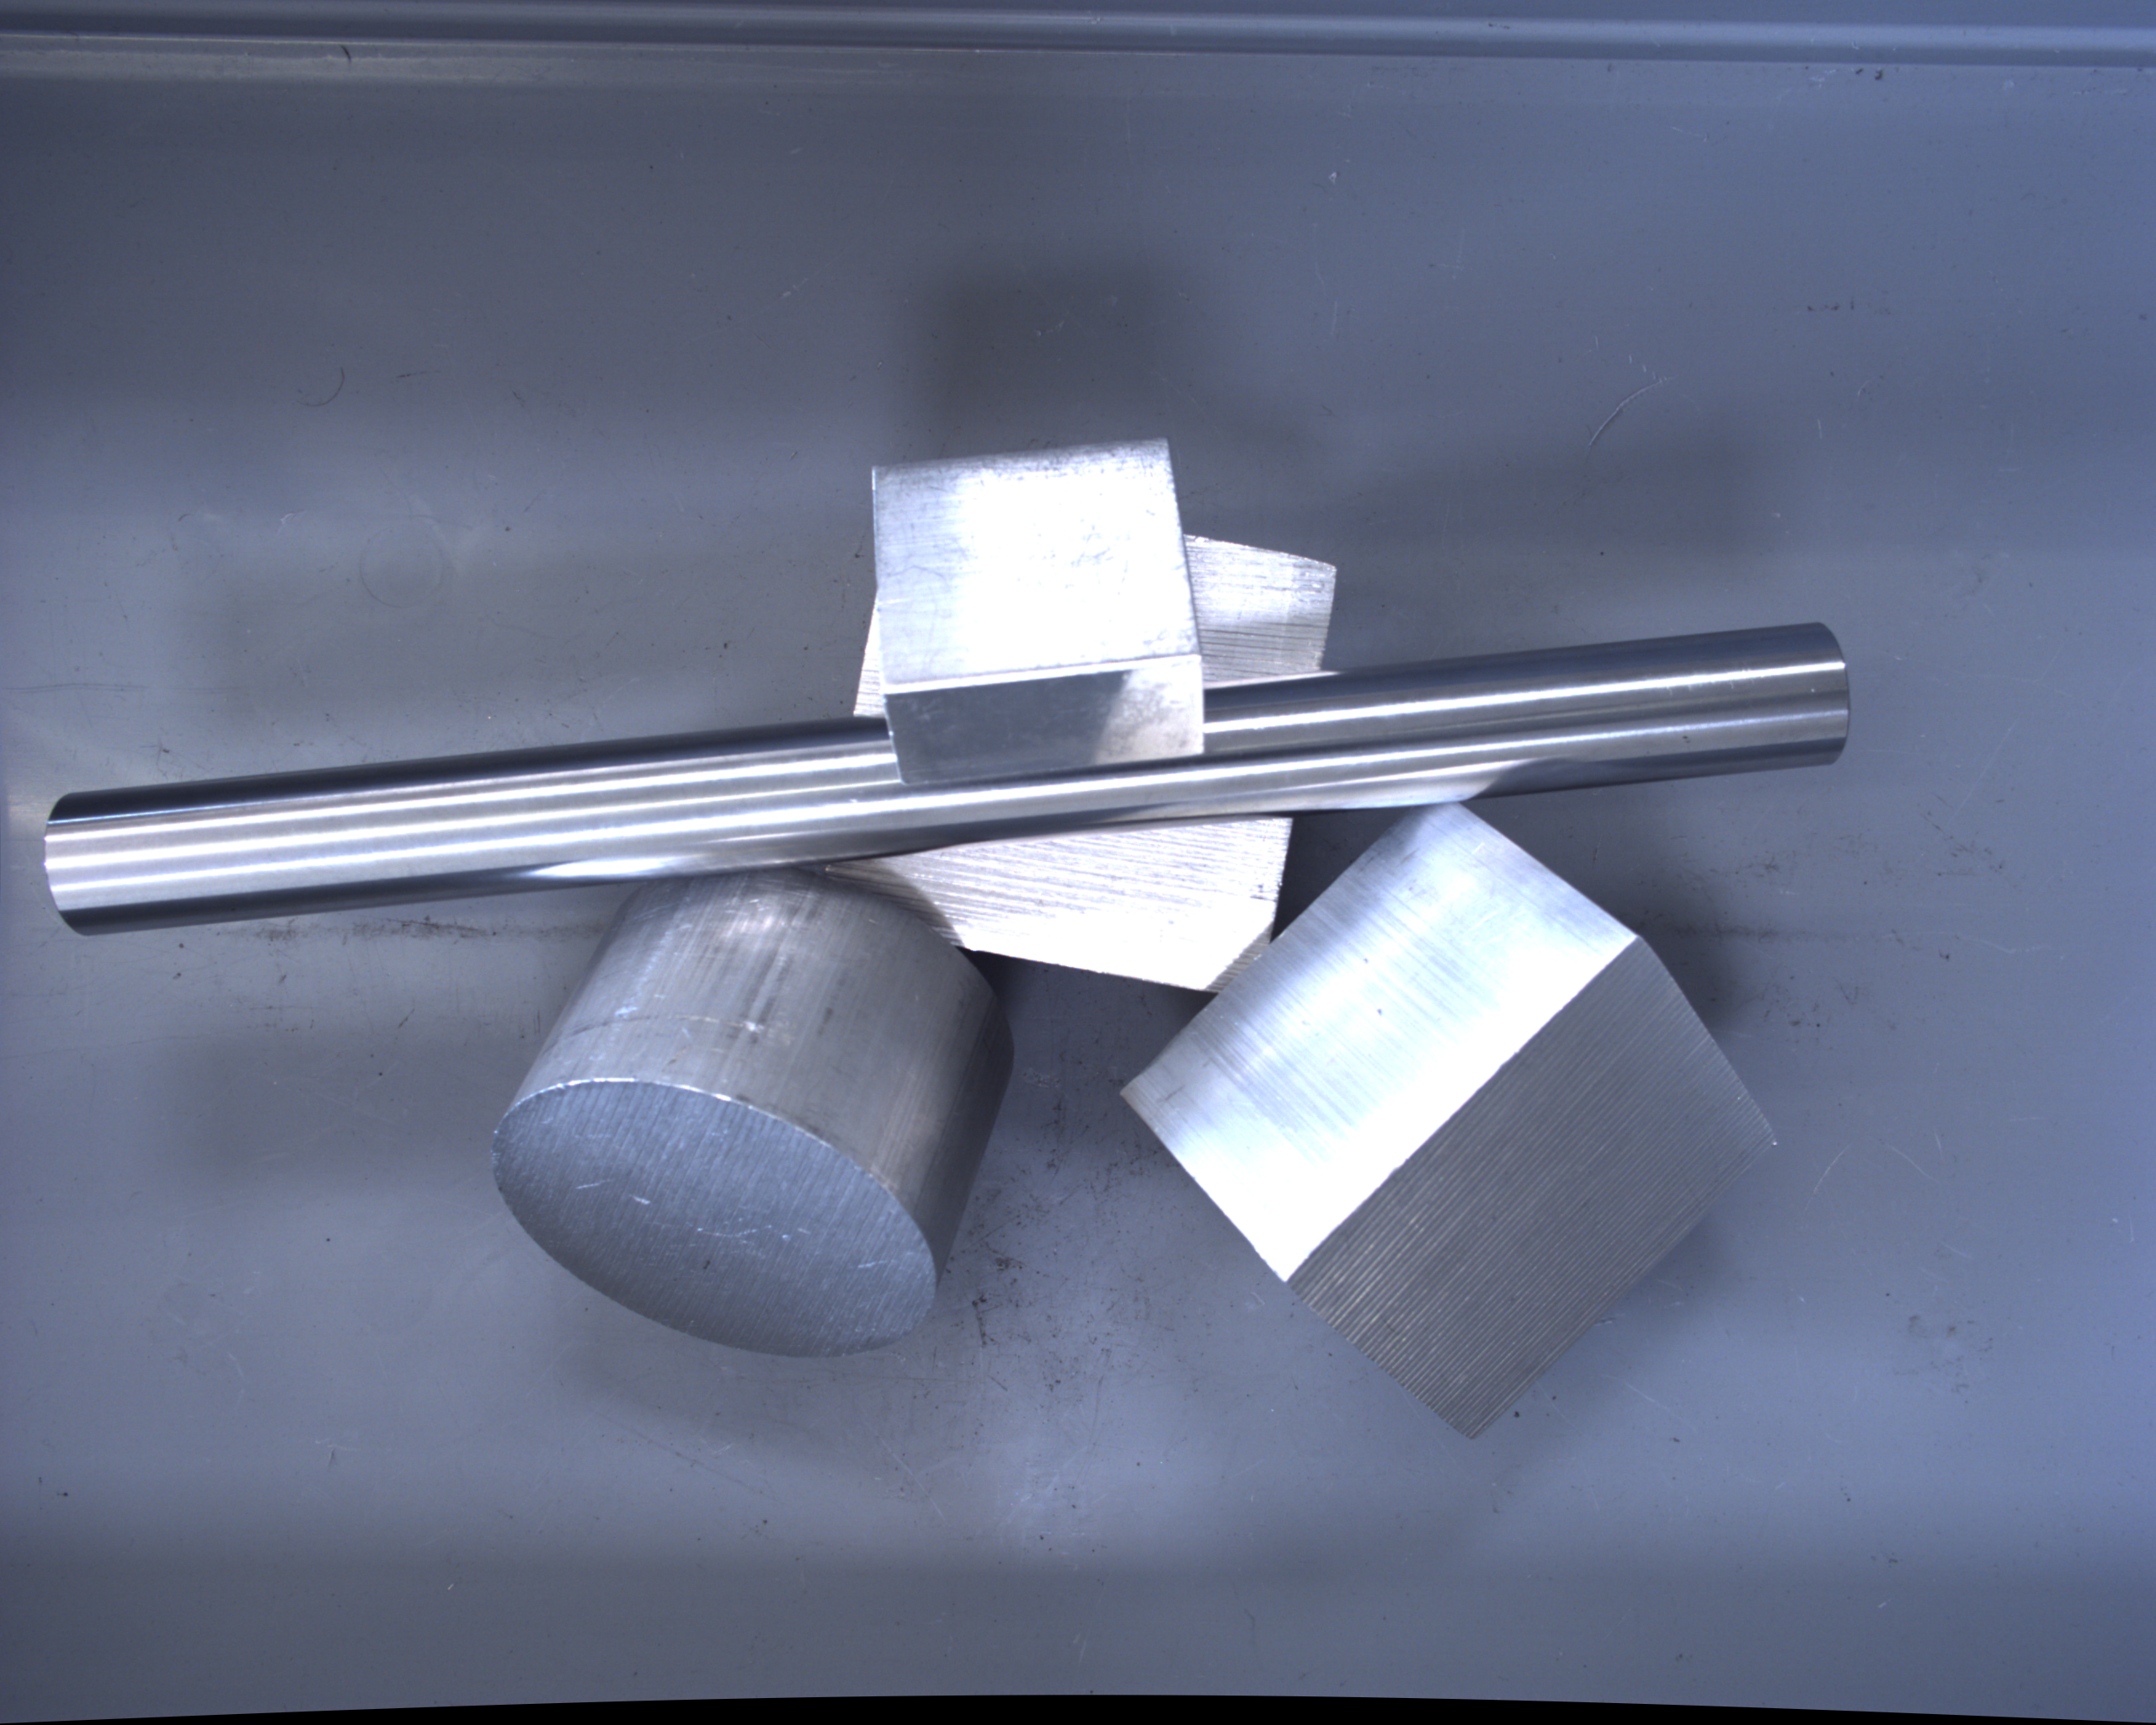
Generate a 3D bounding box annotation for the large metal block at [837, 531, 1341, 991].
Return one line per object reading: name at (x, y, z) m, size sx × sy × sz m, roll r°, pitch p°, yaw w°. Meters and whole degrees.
large metal block at (0.000, -0.023, 0.397) m, size 0.080 × 0.050 × 0.080 m, roll 11°, pitch 90°, yaw 0°

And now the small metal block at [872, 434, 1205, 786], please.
small metal block at (-0.007, -0.042, 0.348) m, size 0.050 × 0.025 × 0.050 m, roll -6°, pitch 55°, yaw 0°

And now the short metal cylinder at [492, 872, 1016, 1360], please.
short metal cylinder at (-0.057, 0.046, 0.376) m, size 0.080 × 0.079 × 0.050 m, roll 19°, pitch 47°, yaw 0°

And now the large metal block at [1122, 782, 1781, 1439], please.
large metal block at (0.069, 0.046, 0.376) m, size 0.080 × 0.050 × 0.080 m, roll -45°, pitch 134°, yaw 0°

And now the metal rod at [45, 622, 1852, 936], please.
metal rod at (-0.021, -0.014, 0.360) m, size 0.302 × 0.025 × 0.025 m, roll -6°, pitch 90°, yaw 0°
